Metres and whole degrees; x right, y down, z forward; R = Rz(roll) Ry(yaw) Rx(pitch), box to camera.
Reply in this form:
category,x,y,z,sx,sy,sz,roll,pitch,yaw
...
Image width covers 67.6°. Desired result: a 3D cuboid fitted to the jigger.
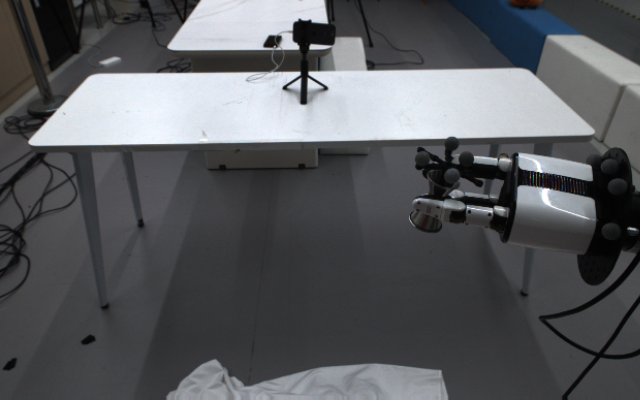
category,x,y,z,sx,sy,sz,roll,pitch,yaw
jigger,0.140,0.000,0.599,0.043,0.071,0.043,10,36,-7
